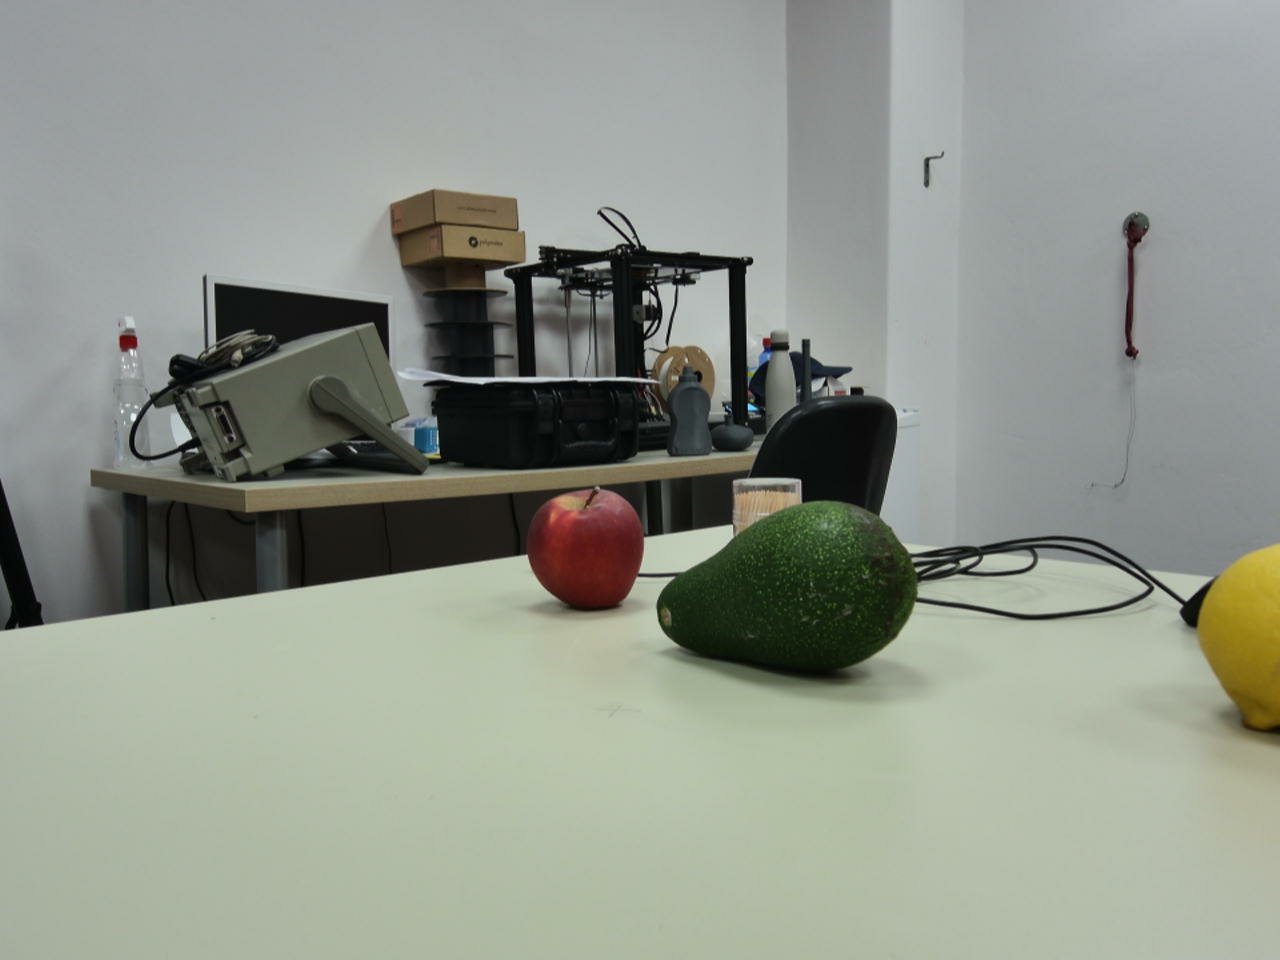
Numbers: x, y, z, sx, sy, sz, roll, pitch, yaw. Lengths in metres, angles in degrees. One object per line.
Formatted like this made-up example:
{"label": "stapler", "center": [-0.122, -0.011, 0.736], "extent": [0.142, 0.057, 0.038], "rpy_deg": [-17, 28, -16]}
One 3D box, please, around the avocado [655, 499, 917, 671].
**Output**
{"label": "avocado", "center": [0.070, 0.047, 0.457], "extent": [0.074, 0.076, 0.123], "rpy_deg": [-1, 3, -34]}
